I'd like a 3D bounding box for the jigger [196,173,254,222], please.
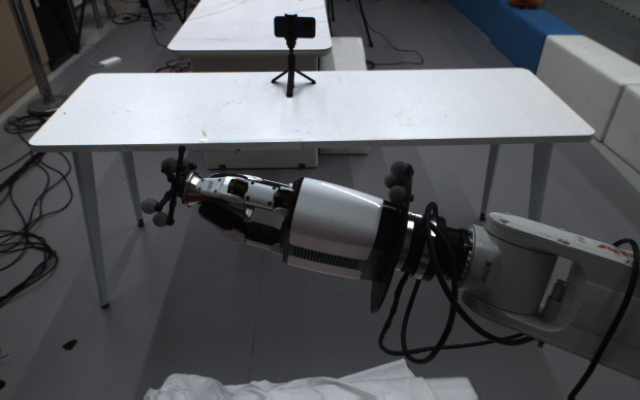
[{"bbox_3d":[-0.101,-0.008,0.519,0.071,0.043,0.043,13,36,4],"label":"jigger"}]
